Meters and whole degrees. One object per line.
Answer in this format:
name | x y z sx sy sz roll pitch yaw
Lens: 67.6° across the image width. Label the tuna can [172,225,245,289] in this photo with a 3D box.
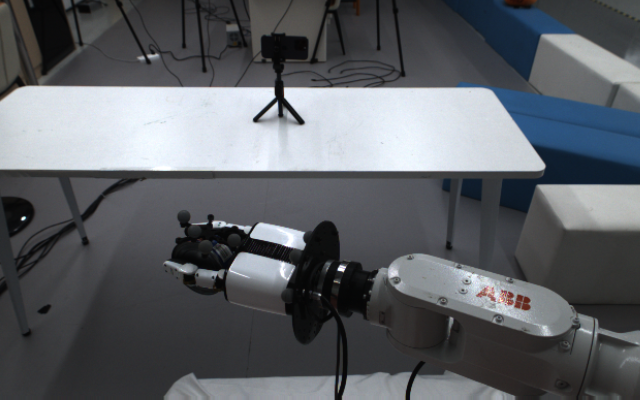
tuna can | -0.157 0.086 0.665 0.085 0.085 0.034 16 28 19
